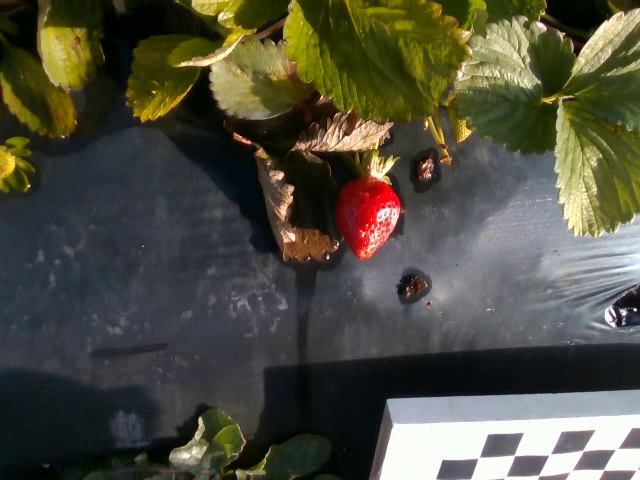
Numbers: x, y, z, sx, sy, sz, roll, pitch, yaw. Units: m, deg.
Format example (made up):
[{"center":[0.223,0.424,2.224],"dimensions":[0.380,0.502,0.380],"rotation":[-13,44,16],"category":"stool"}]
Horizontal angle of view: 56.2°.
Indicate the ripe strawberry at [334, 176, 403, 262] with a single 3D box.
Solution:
[{"center":[0.023,-0.003,0.290],"dimensions":[0.046,0.054,0.037],"rotation":[17,-13,-21],"category":"ripe strawberry"}]
